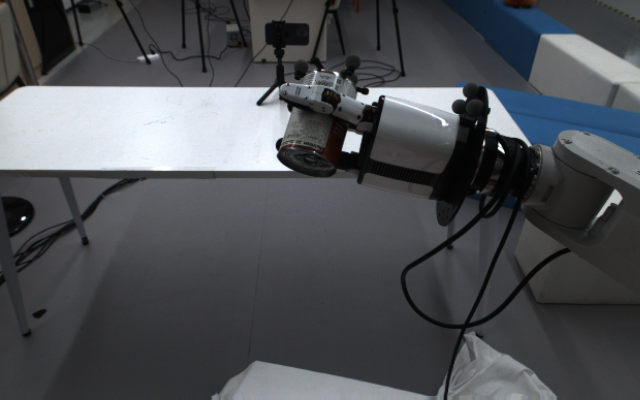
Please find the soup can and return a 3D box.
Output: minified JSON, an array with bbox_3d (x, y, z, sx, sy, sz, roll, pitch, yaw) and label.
[{"bbox_3d":[0.000,-0.085,0.544,0.067,0.067,0.101,11,72,13],"label":"soup can"}]
